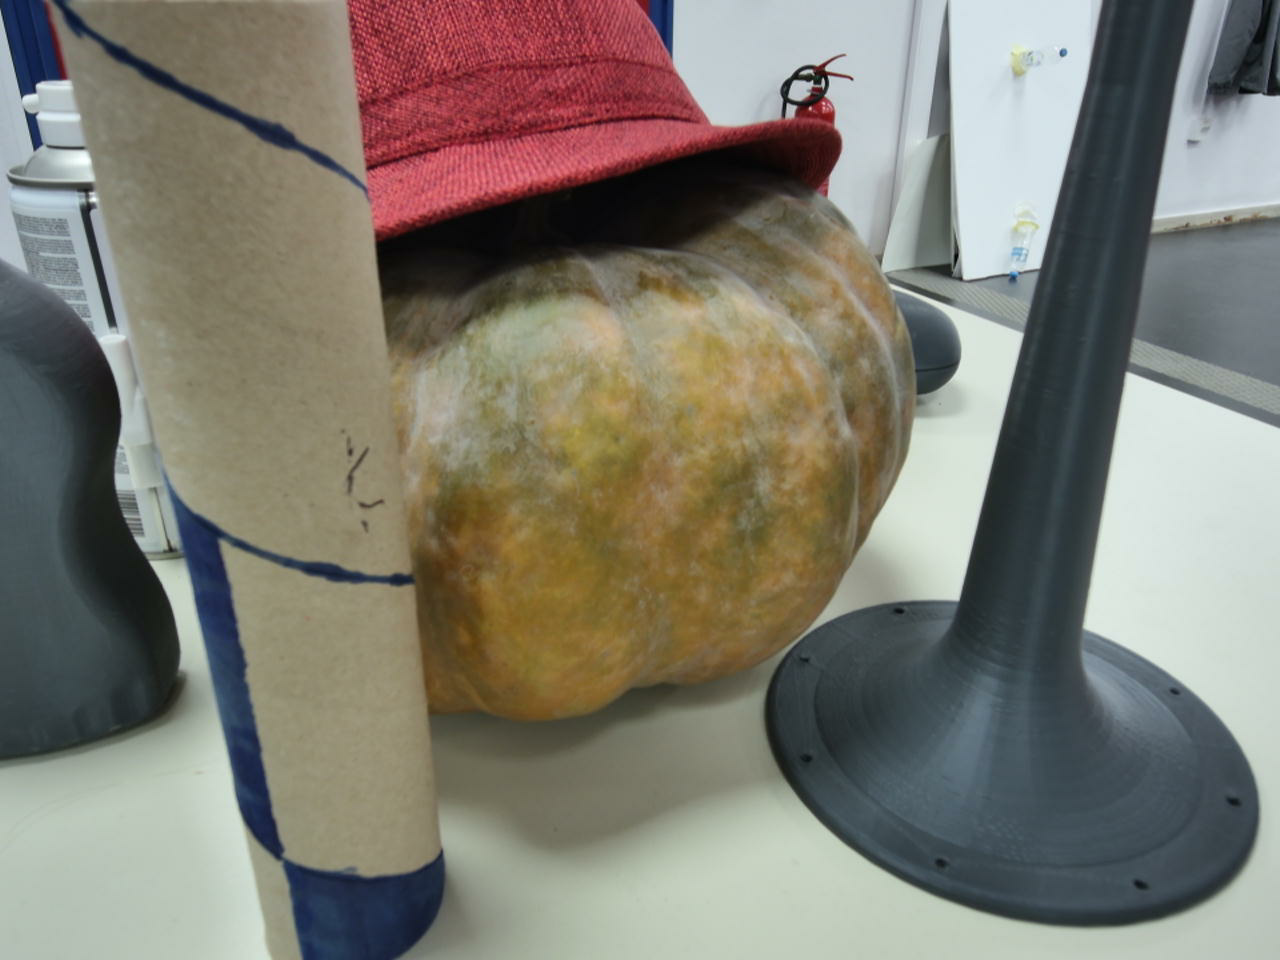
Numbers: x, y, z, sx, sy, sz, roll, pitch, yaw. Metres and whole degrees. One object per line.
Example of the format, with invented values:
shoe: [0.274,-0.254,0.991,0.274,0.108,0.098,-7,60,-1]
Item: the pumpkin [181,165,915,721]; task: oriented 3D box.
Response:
pumpkin: [-0.032,-0.023,0.359,0.252,0.169,0.251,0,24,0]
